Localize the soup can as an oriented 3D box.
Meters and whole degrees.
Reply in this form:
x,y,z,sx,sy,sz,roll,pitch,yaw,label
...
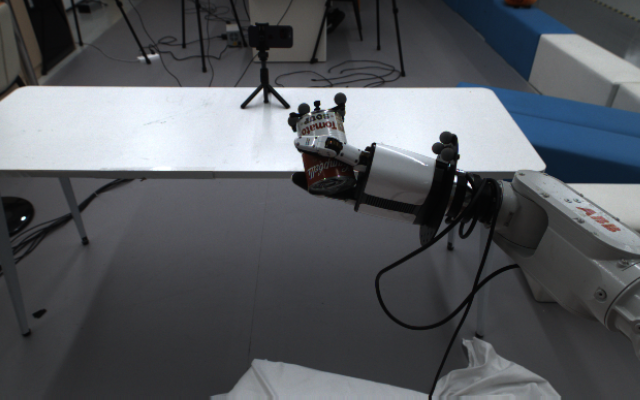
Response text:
x,y,z,sx,sy,sz,roll,pitch,yaw,label
0.008,-0.066,0.673,0.067,0.067,0.101,-8,74,-14,soup can
